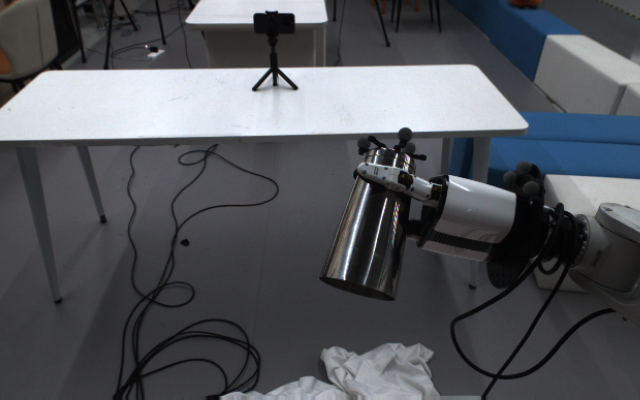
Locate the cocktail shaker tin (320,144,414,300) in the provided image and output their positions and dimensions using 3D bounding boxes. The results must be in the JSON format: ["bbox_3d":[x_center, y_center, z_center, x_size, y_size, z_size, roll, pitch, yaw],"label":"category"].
[{"bbox_3d":[0.068,0.024,0.590,0.093,0.093,0.170,12,72,14],"label":"cocktail shaker tin"}]
